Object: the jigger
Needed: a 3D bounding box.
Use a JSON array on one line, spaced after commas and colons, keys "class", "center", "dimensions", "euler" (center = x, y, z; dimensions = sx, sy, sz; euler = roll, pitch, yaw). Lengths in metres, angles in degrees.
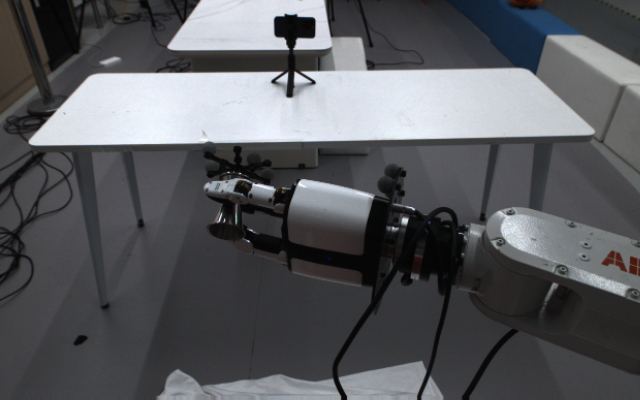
[{"class": "jigger", "center": [-0.103, 0.005, 0.555], "dimensions": [0.043, 0.043, 0.071], "euler": [4, 60, 2]}]
